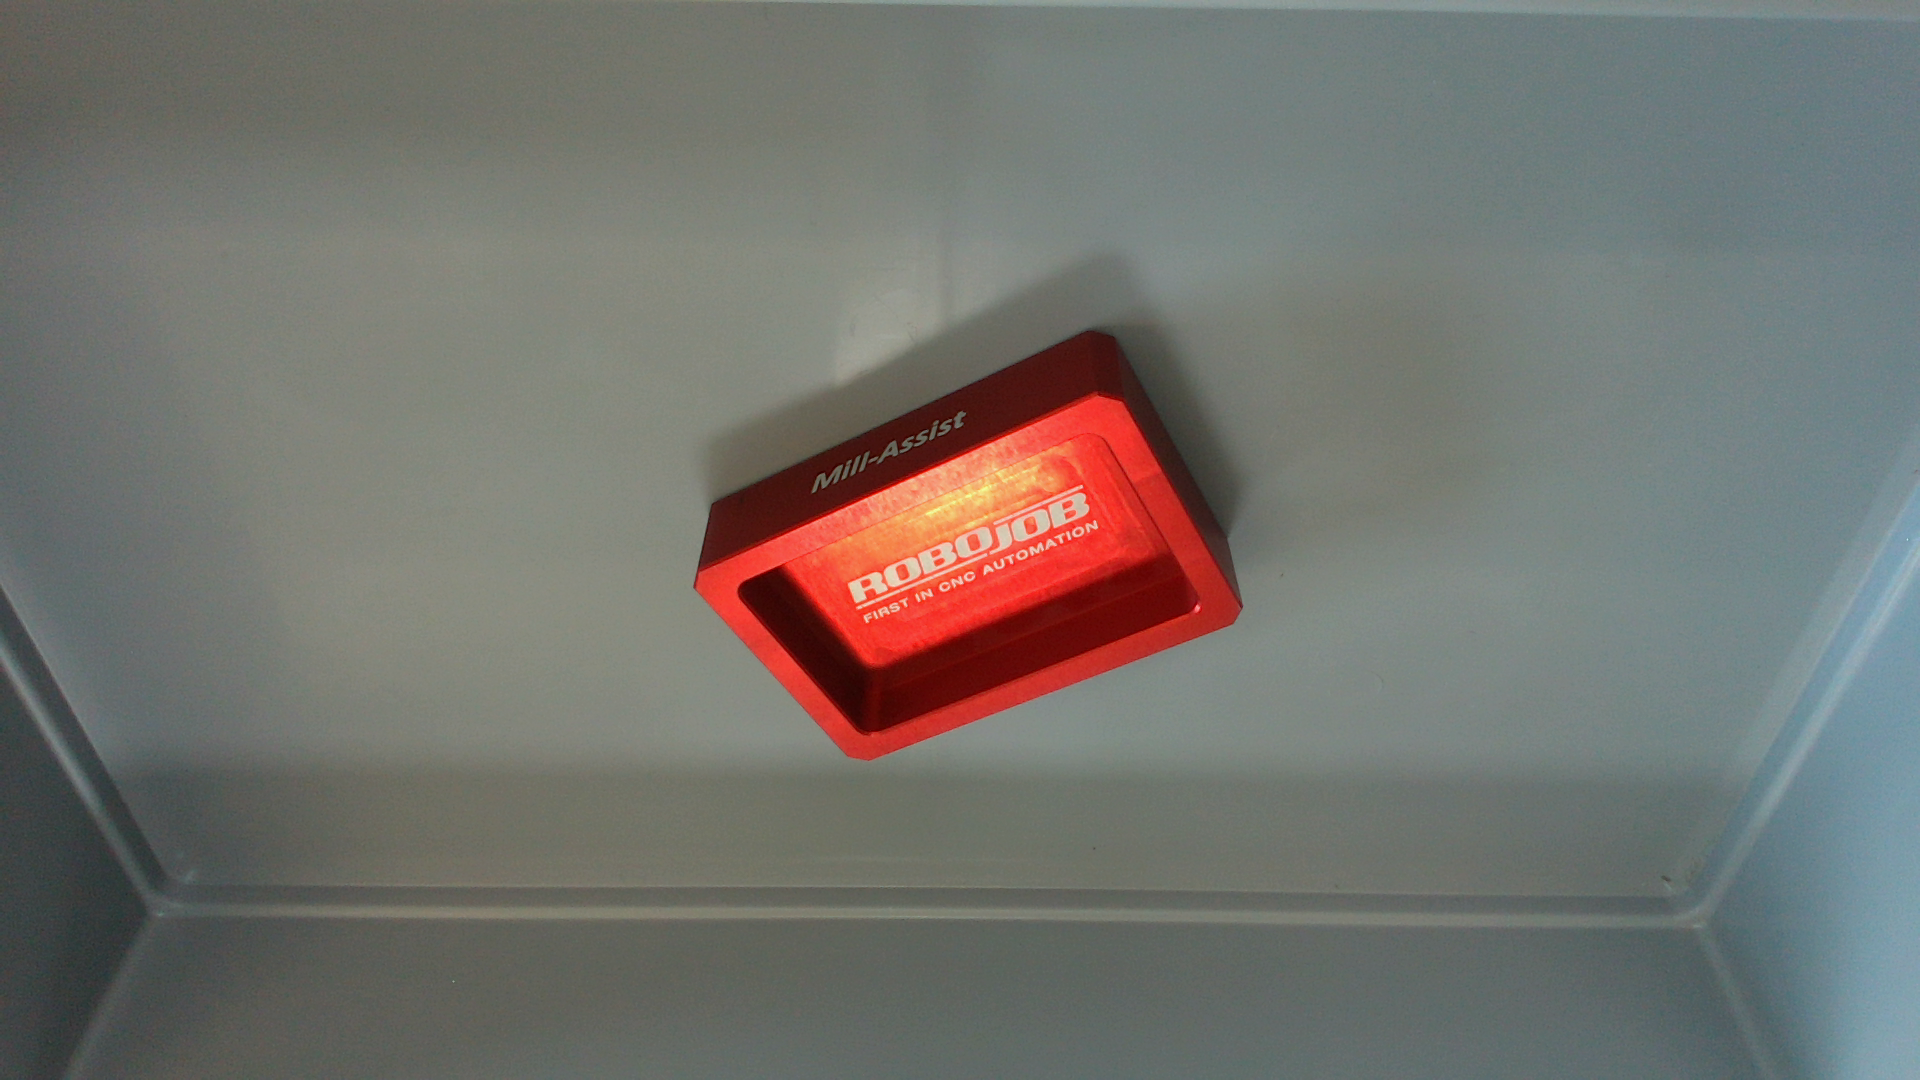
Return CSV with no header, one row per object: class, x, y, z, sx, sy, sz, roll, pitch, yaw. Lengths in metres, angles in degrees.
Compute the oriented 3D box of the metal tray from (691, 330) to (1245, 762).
metal tray,0.003,0.007,0.389,0.130,0.030,0.090,-23,127,18
